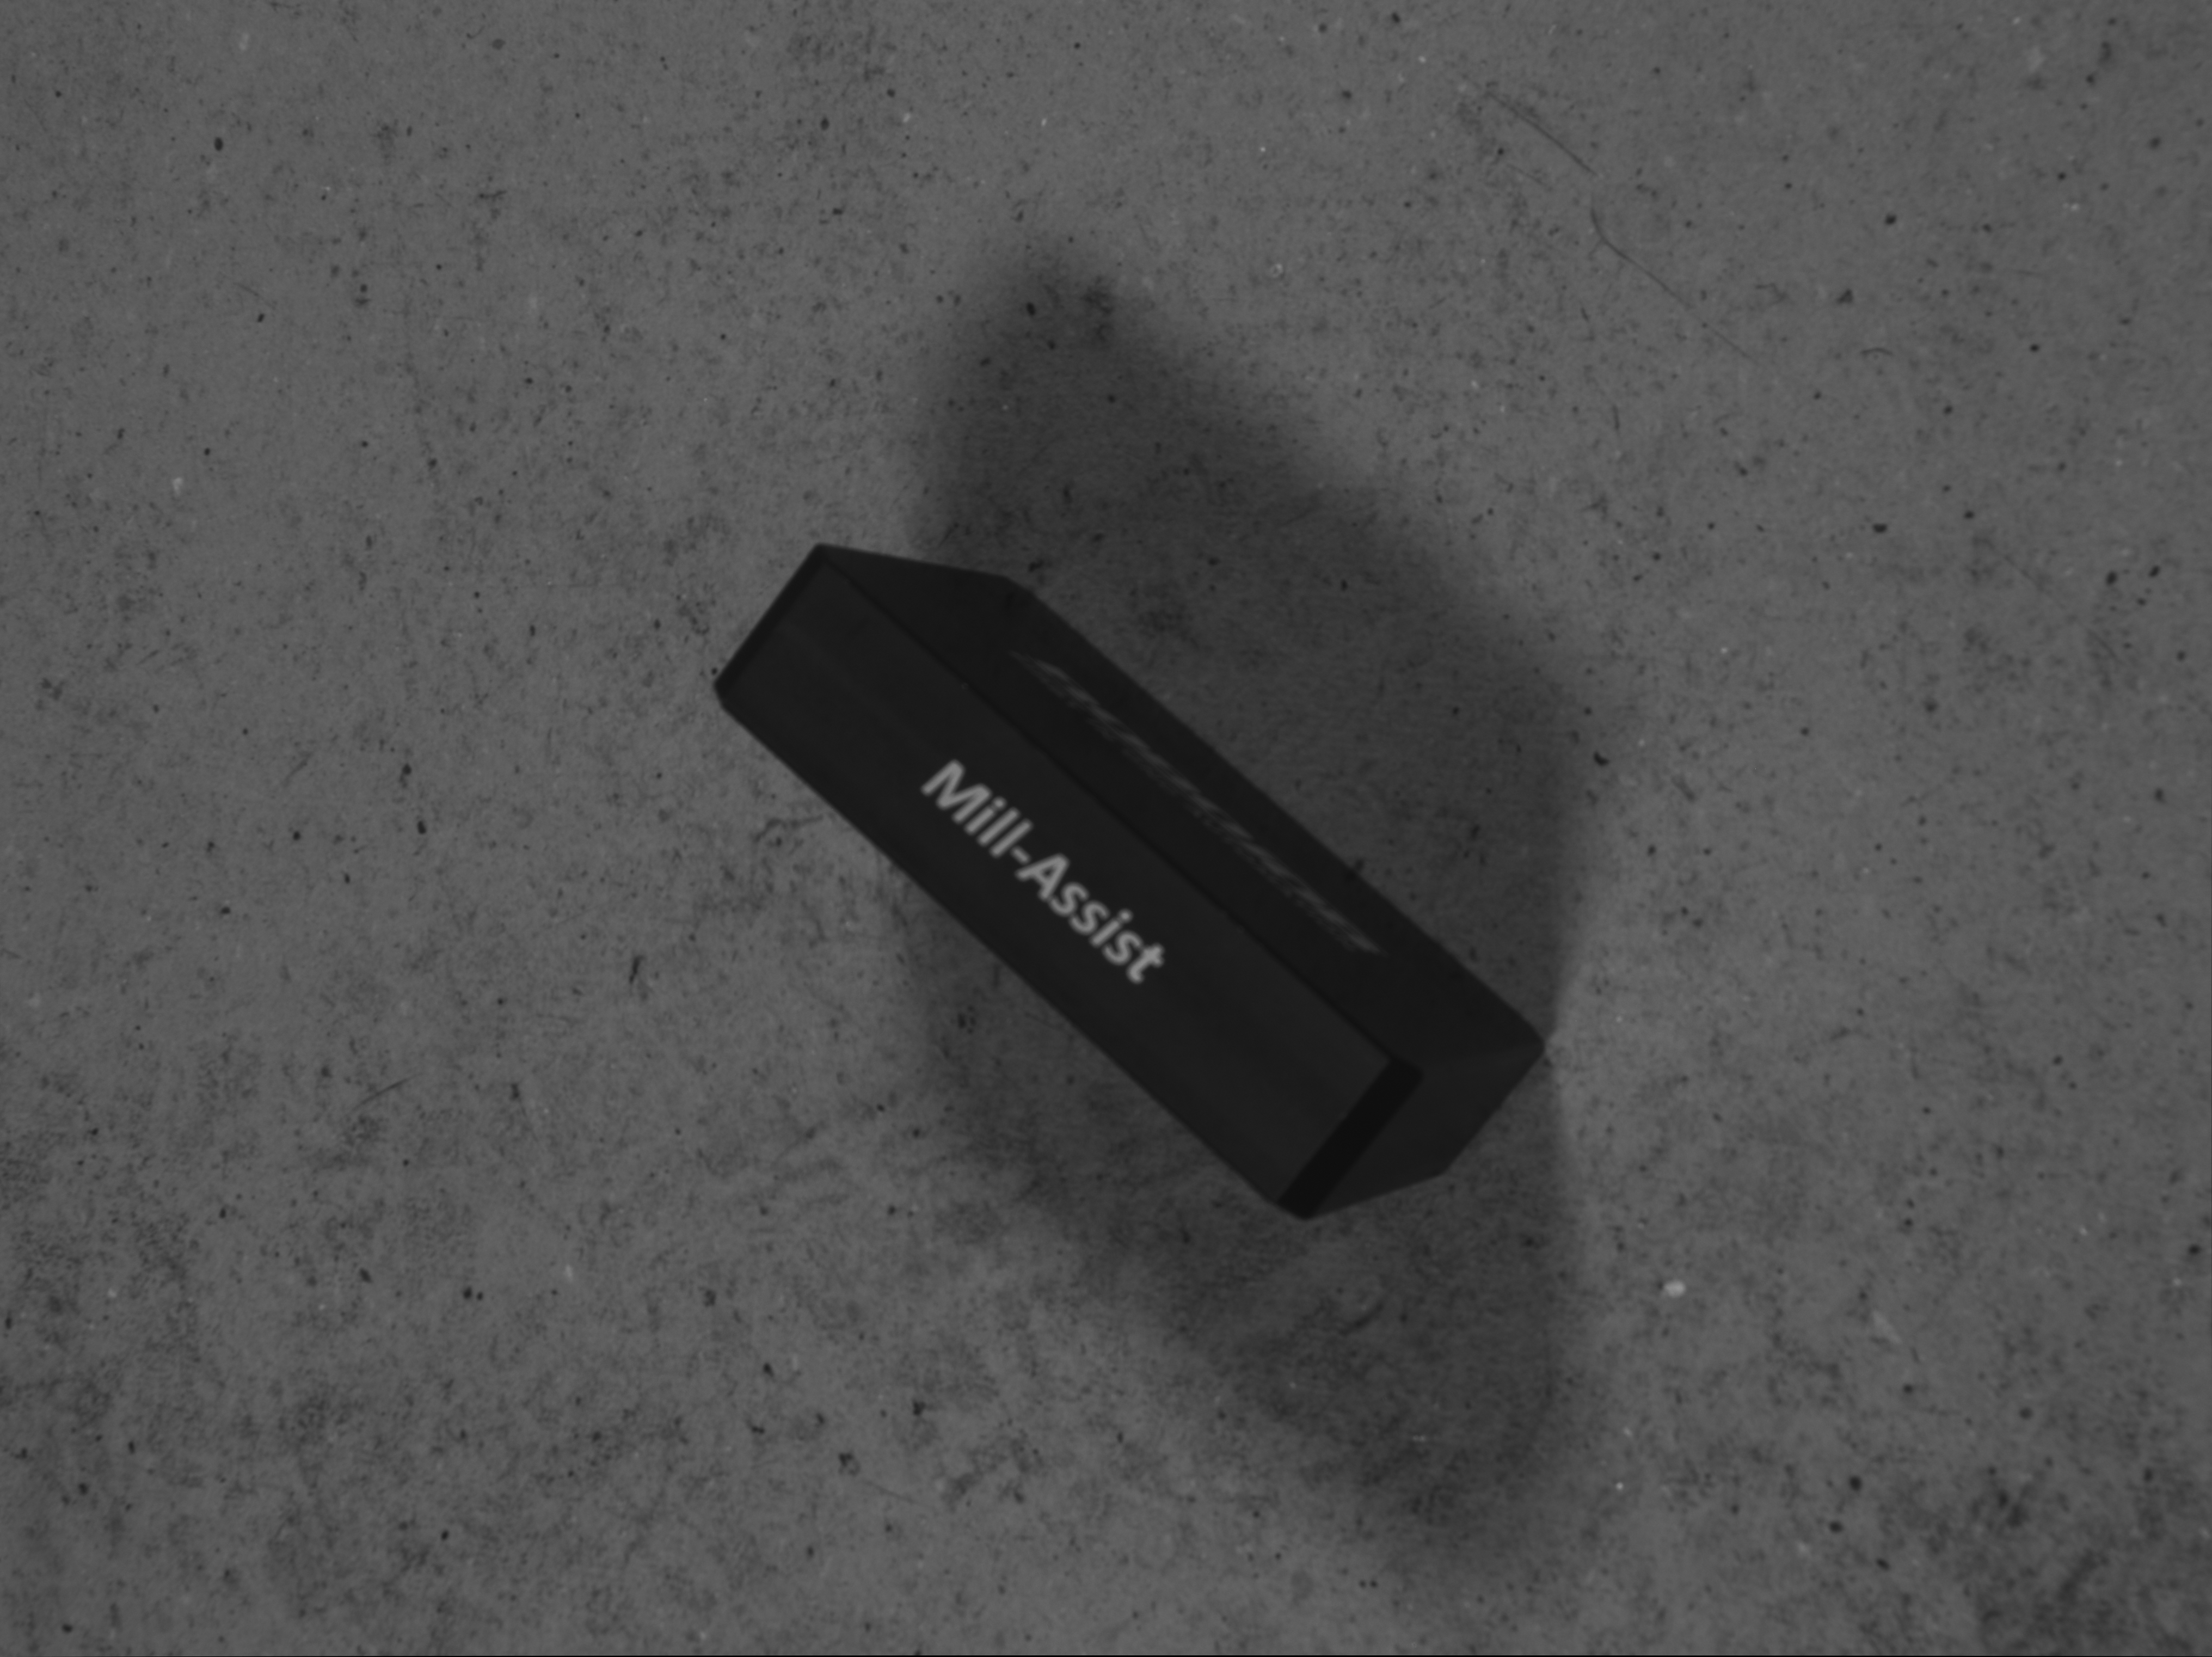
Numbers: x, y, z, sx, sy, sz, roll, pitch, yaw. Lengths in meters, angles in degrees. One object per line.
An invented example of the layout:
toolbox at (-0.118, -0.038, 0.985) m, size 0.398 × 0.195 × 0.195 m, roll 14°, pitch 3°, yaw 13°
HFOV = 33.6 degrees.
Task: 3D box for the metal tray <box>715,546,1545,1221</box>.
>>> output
metal tray at (0.006, 0.007, 0.608) m, size 0.130 × 0.090 × 0.030 m, roll 41°, pitch 103°, yaw 15°
